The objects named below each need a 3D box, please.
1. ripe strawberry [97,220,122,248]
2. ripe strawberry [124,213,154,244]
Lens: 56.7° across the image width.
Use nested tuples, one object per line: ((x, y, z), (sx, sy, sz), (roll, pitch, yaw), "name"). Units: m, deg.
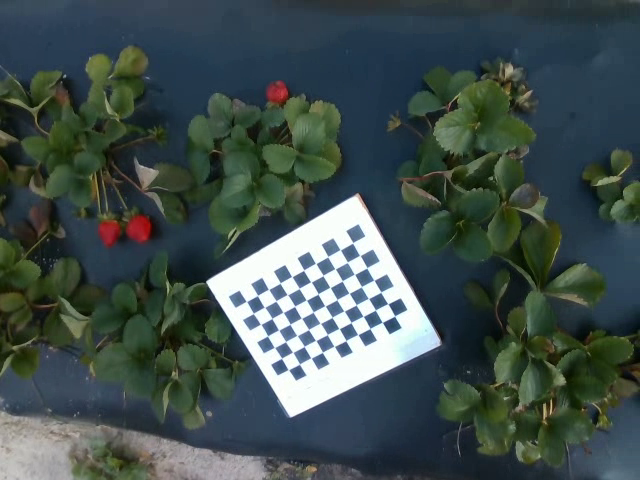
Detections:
((-0.411, -0.011, 1.140), (0.048, 0.056, 0.041), (-14, -16, 11), "ripe strawberry")
((-0.351, -0.016, 1.124), (0.064, 0.058, 0.051), (48, 14, 32), "ripe strawberry")
